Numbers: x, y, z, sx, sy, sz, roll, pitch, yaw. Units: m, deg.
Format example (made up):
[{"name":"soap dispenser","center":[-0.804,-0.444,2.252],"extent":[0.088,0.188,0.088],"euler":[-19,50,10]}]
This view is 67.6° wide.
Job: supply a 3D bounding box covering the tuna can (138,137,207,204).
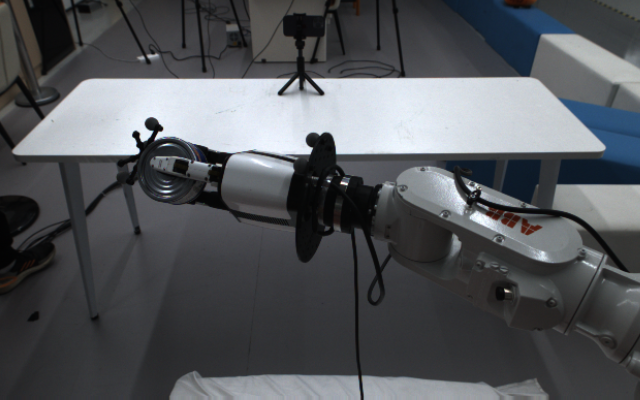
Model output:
[{"name":"tuna can","center":[-0.188,-0.037,0.628],"extent":[0.085,0.085,0.034],"euler":[8,-2,8]}]
